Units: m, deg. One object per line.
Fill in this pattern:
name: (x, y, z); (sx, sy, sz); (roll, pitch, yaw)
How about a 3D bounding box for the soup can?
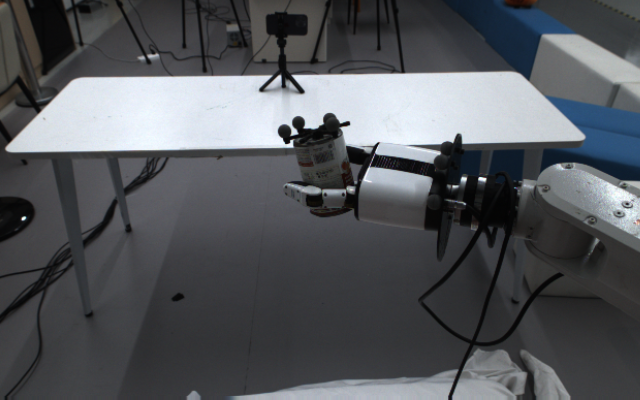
soup can: (0.010, -0.037, 0.637); (0.067, 0.101, 0.067); (-13, 20, 5)
